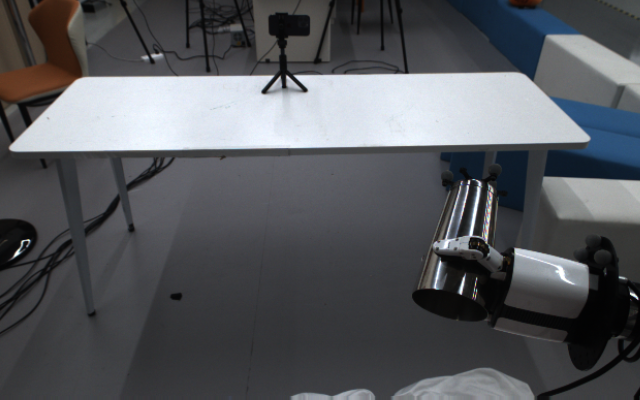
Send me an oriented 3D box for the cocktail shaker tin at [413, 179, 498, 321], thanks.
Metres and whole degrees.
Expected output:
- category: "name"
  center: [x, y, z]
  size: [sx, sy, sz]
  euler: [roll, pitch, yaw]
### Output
- category: "cocktail shaker tin"
  center: [0.185, 0.059, 0.629]
  size: [0.093, 0.093, 0.170]
  euler: [13, 60, 16]
